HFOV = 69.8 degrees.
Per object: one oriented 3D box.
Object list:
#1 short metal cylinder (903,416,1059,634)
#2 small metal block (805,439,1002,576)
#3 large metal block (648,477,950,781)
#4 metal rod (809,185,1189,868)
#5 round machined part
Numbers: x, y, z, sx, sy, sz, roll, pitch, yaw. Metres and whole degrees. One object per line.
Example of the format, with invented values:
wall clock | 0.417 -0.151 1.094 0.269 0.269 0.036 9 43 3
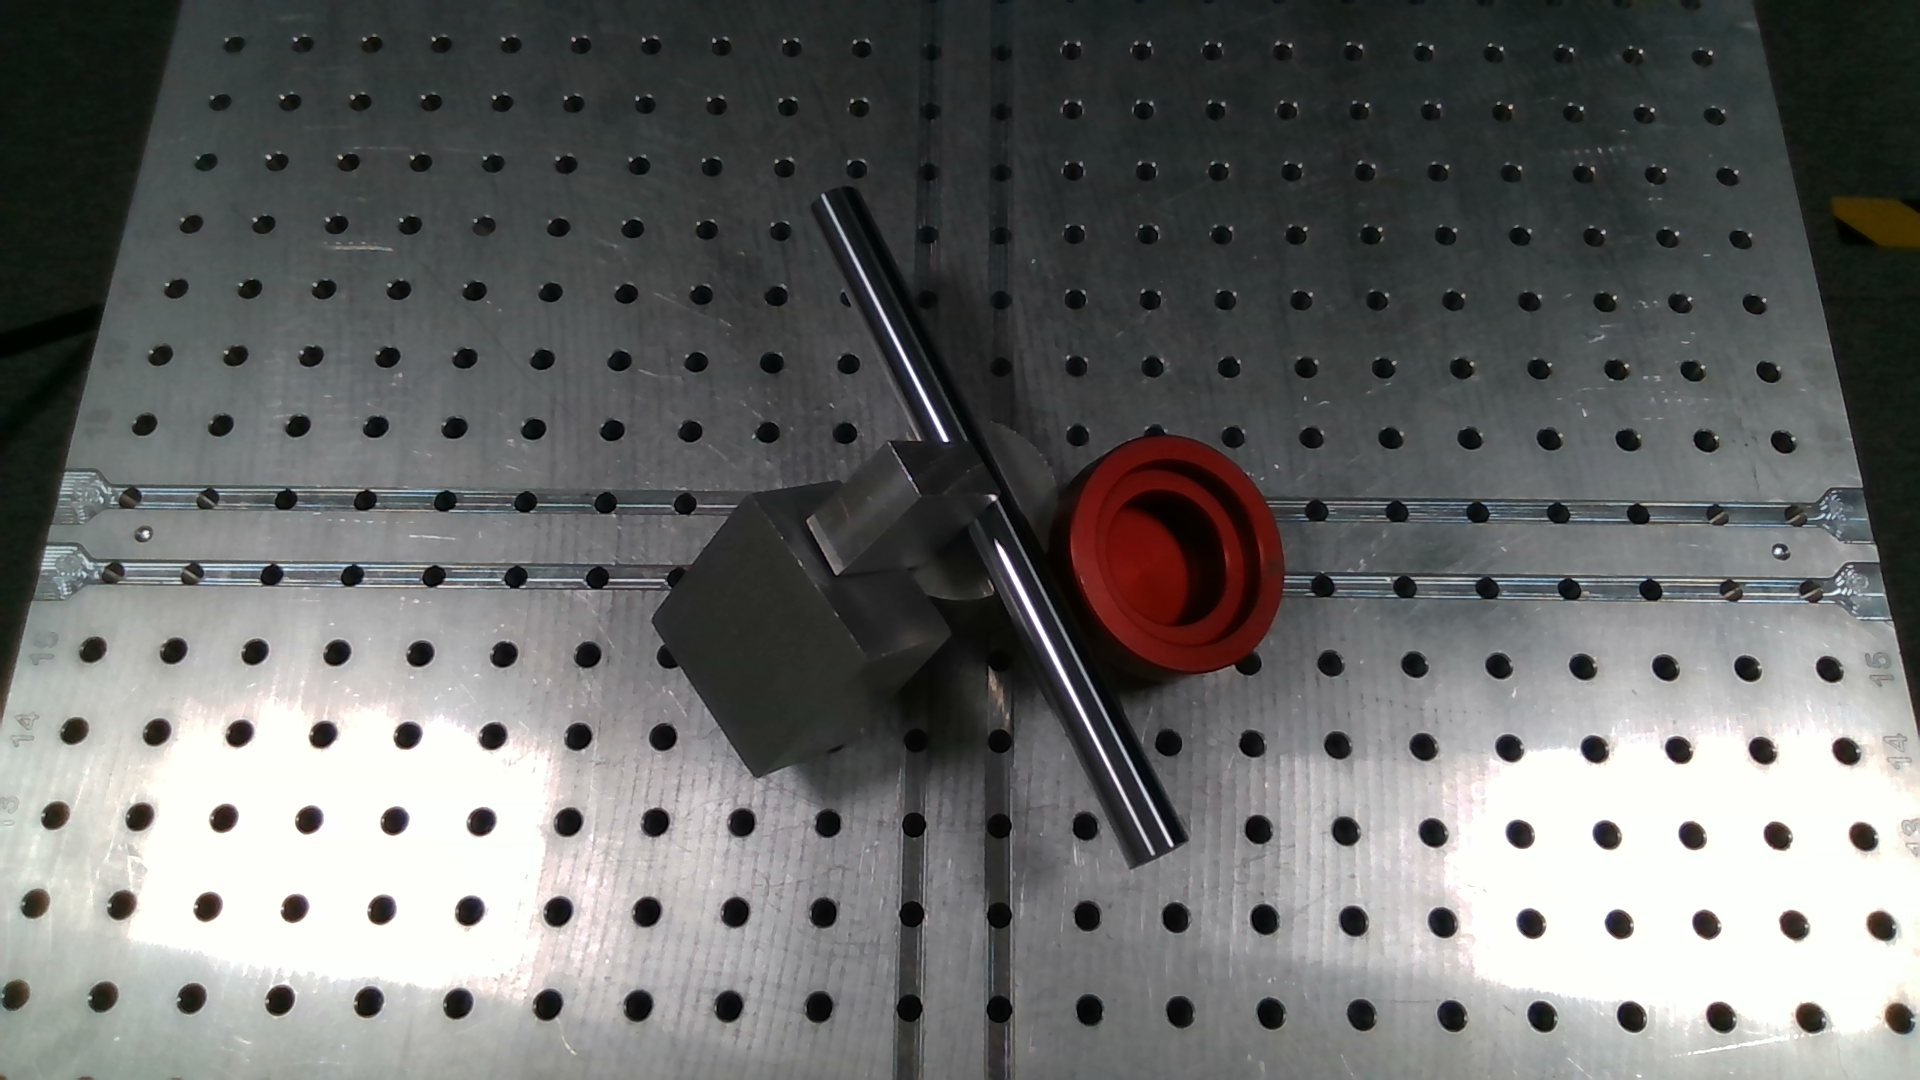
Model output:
short metal cylinder | 0.000 -0.006 0.579 0.080 0.050 0.080 0 70 0
small metal block | -0.021 -0.013 0.517 0.050 0.050 0.025 -41 70 30
large metal block | -0.065 0.034 0.541 0.080 0.050 0.080 -47 71 31
metal rod | 0.009 -0.015 0.542 0.025 0.025 0.299 -23 72 -8
round machined part | 0.080 0.009 0.566 0.098 0.042 0.098 6 75 -22
